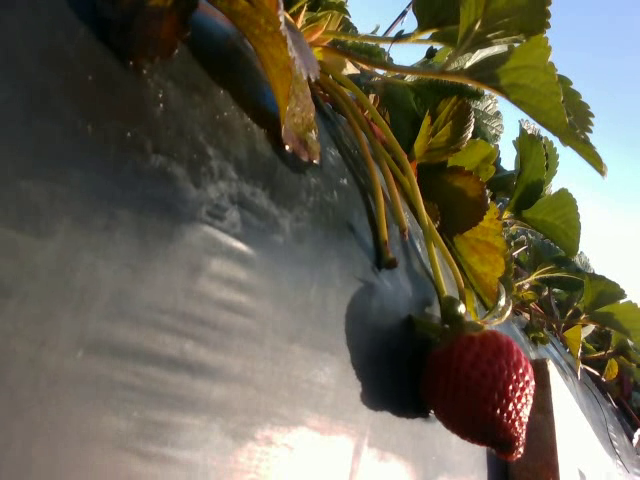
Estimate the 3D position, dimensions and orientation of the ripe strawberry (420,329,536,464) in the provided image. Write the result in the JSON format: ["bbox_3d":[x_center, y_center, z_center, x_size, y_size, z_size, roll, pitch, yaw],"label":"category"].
[{"bbox_3d":[0.050,0.047,0.183,0.036,0.044,0.040,-25,-21,24],"label":"ripe strawberry"}]
